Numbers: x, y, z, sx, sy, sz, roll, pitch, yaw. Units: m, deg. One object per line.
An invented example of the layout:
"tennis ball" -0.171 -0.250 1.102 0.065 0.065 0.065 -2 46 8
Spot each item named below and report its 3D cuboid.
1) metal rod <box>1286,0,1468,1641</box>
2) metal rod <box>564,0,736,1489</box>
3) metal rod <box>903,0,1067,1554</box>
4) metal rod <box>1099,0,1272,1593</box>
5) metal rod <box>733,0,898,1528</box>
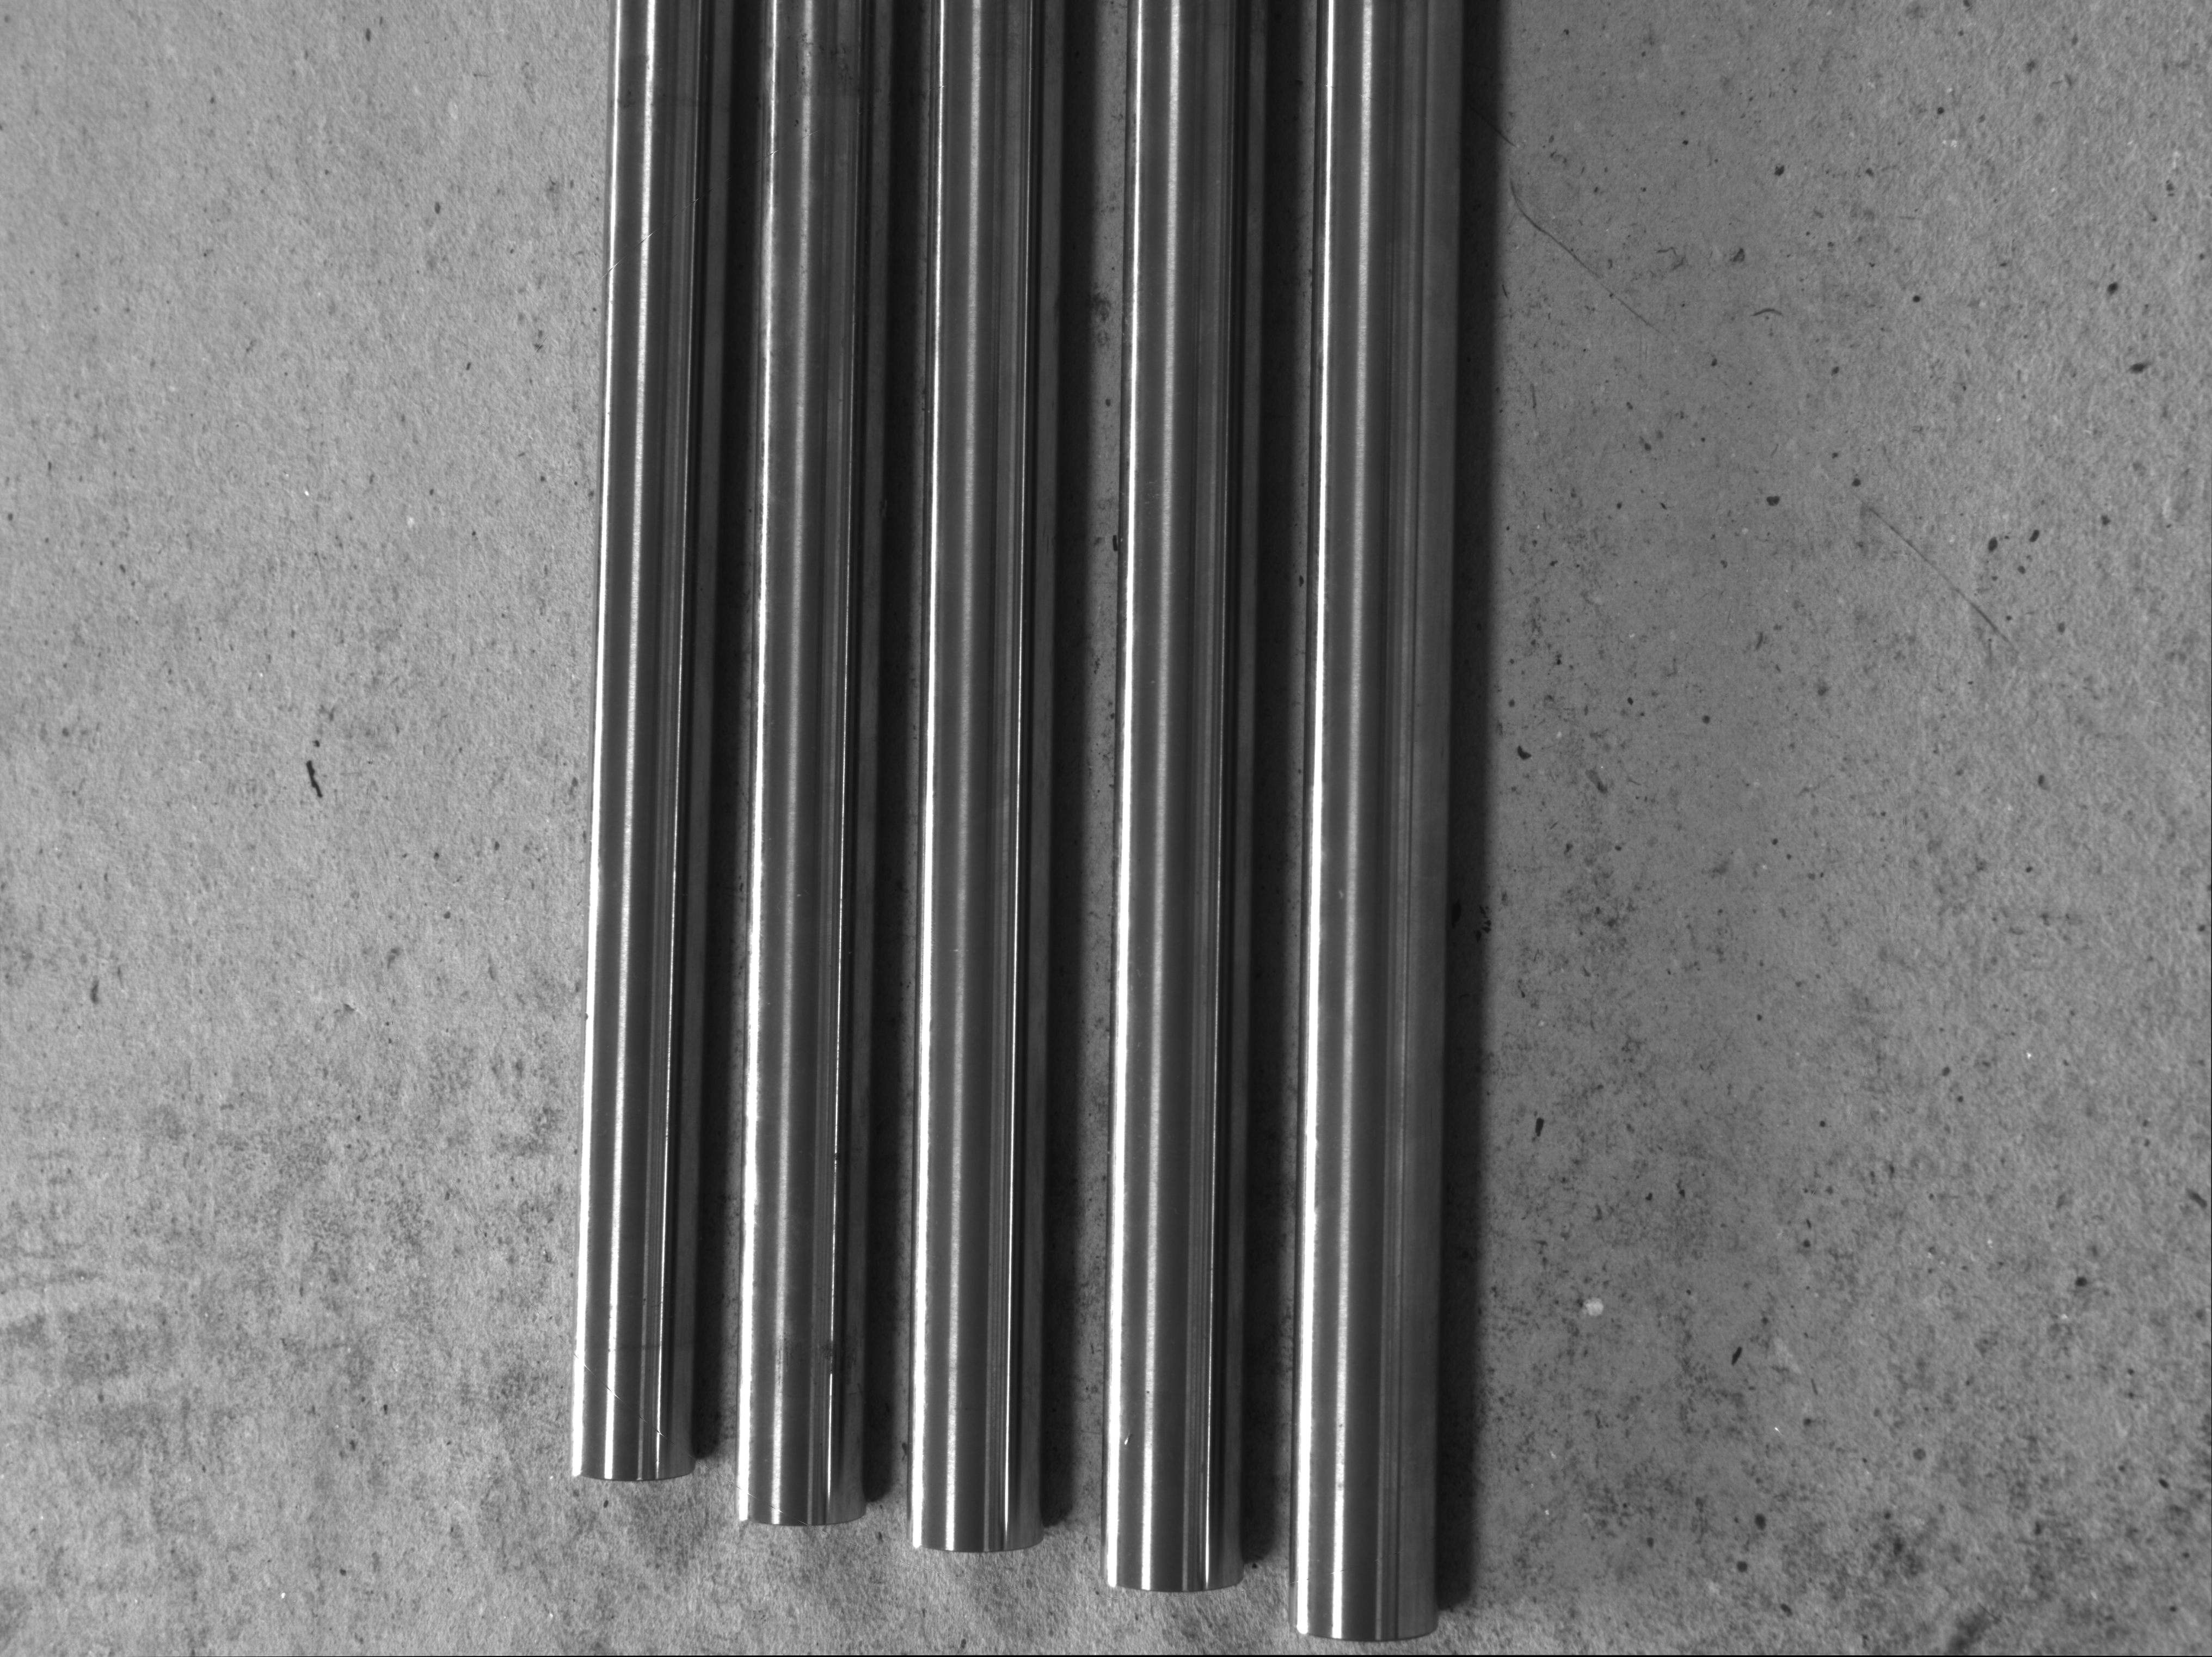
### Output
"metal rod" 0.045 -0.018 0.607 0.025 0.025 0.300 2 91 40
"metal rod" -0.089 -0.022 0.719 0.025 0.025 0.300 3 92 40
"metal rod" -0.022 -0.021 0.663 0.025 0.025 0.300 2 91 40
"metal rod" 0.014 -0.020 0.633 0.025 0.025 0.300 2 91 40
"metal rod" -0.055 -0.020 0.691 0.025 0.025 0.300 2 91 40
